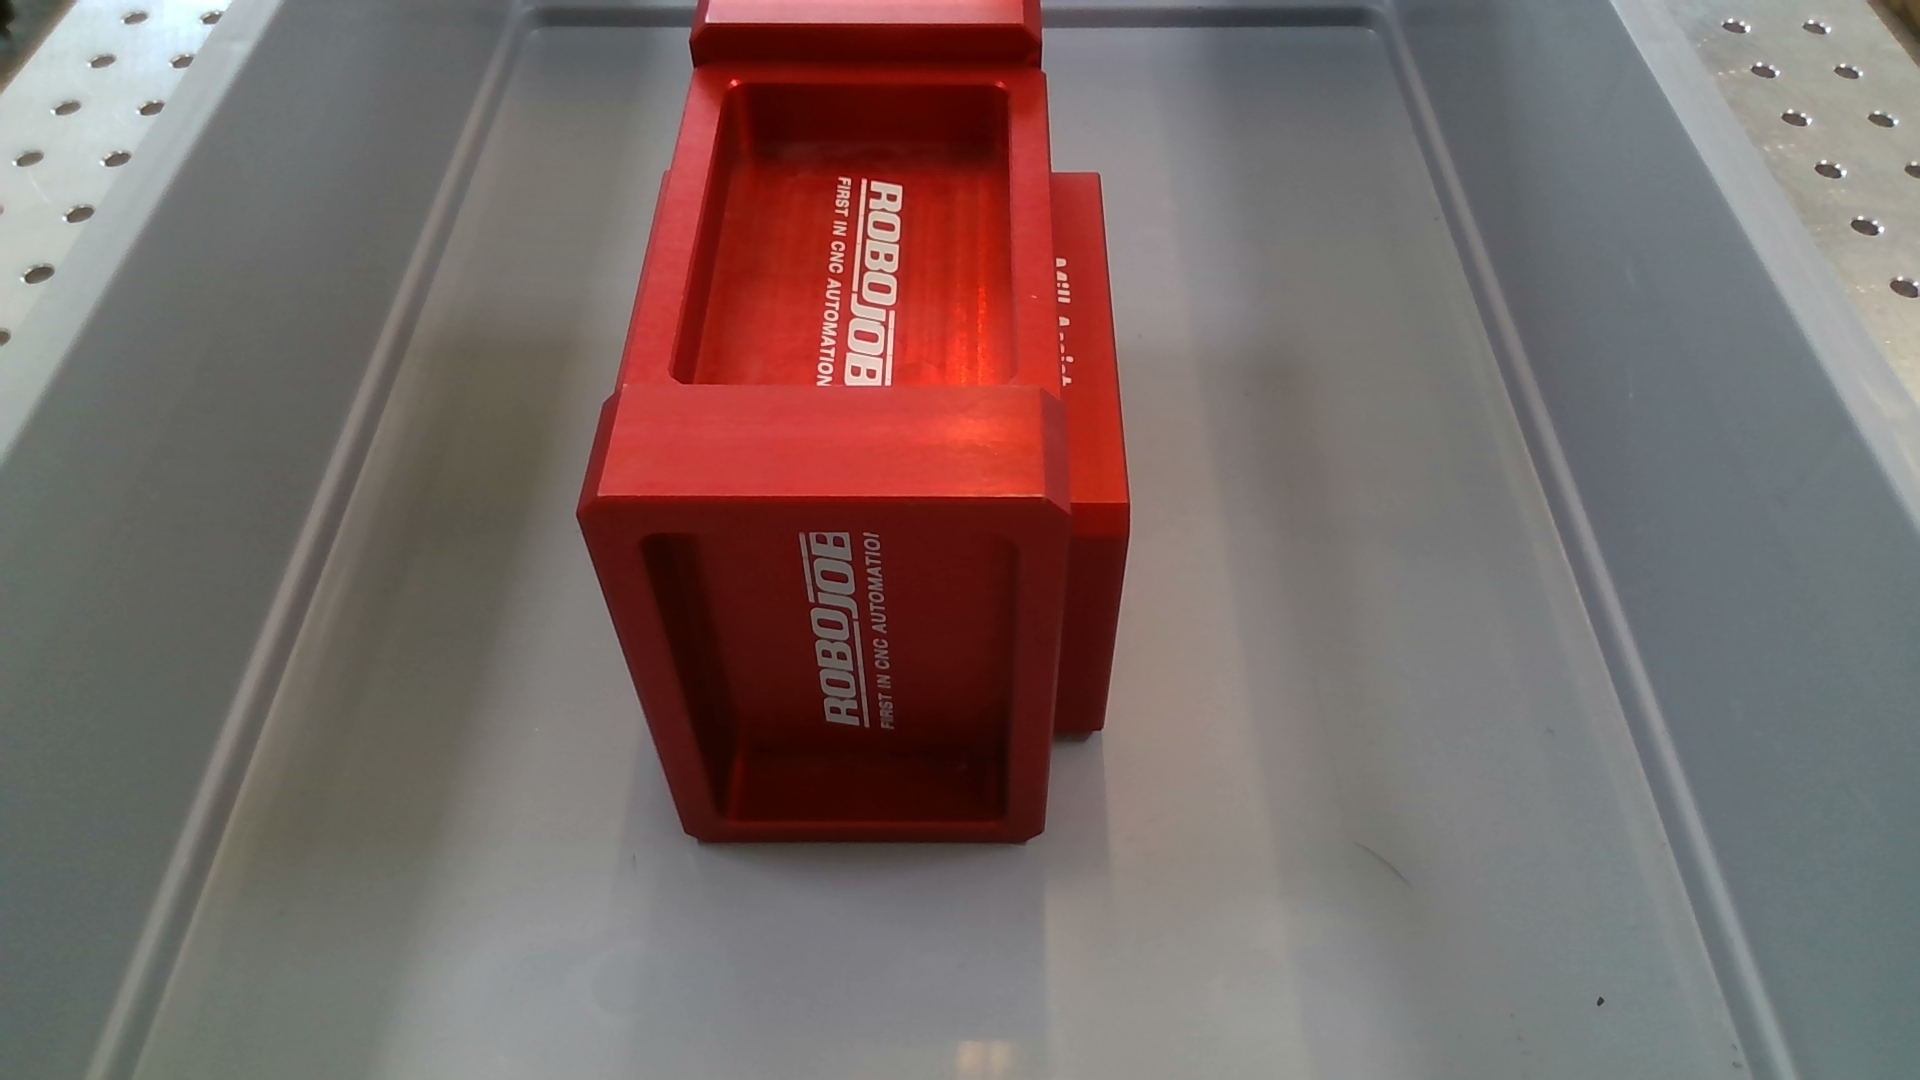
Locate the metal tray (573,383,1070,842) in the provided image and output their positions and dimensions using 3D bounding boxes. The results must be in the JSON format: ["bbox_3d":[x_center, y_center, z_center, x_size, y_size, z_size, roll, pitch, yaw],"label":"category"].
[{"bbox_3d":[-0.024,0.023,0.304,0.090,0.130,0.030,0,50,1],"label":"metal tray"}]

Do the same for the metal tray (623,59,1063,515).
[{"bbox_3d":[-0.024,-0.065,0.325,0.090,0.030,0.130,1,50,0],"label":"metal tray"}]

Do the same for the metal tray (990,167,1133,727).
[{"bbox_3d":[0.023,-0.027,0.370,0.030,0.090,0.130,0,50,1],"label":"metal tray"}]

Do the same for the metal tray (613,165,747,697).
[{"bbox_3d":[-0.066,-0.027,0.371,0.030,0.090,0.130,0,50,0],"label":"metal tray"}]

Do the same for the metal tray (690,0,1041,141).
[{"bbox_3d":[-0.024,-0.101,0.408,0.090,0.130,0.030,0,50,1],"label":"metal tray"}]
